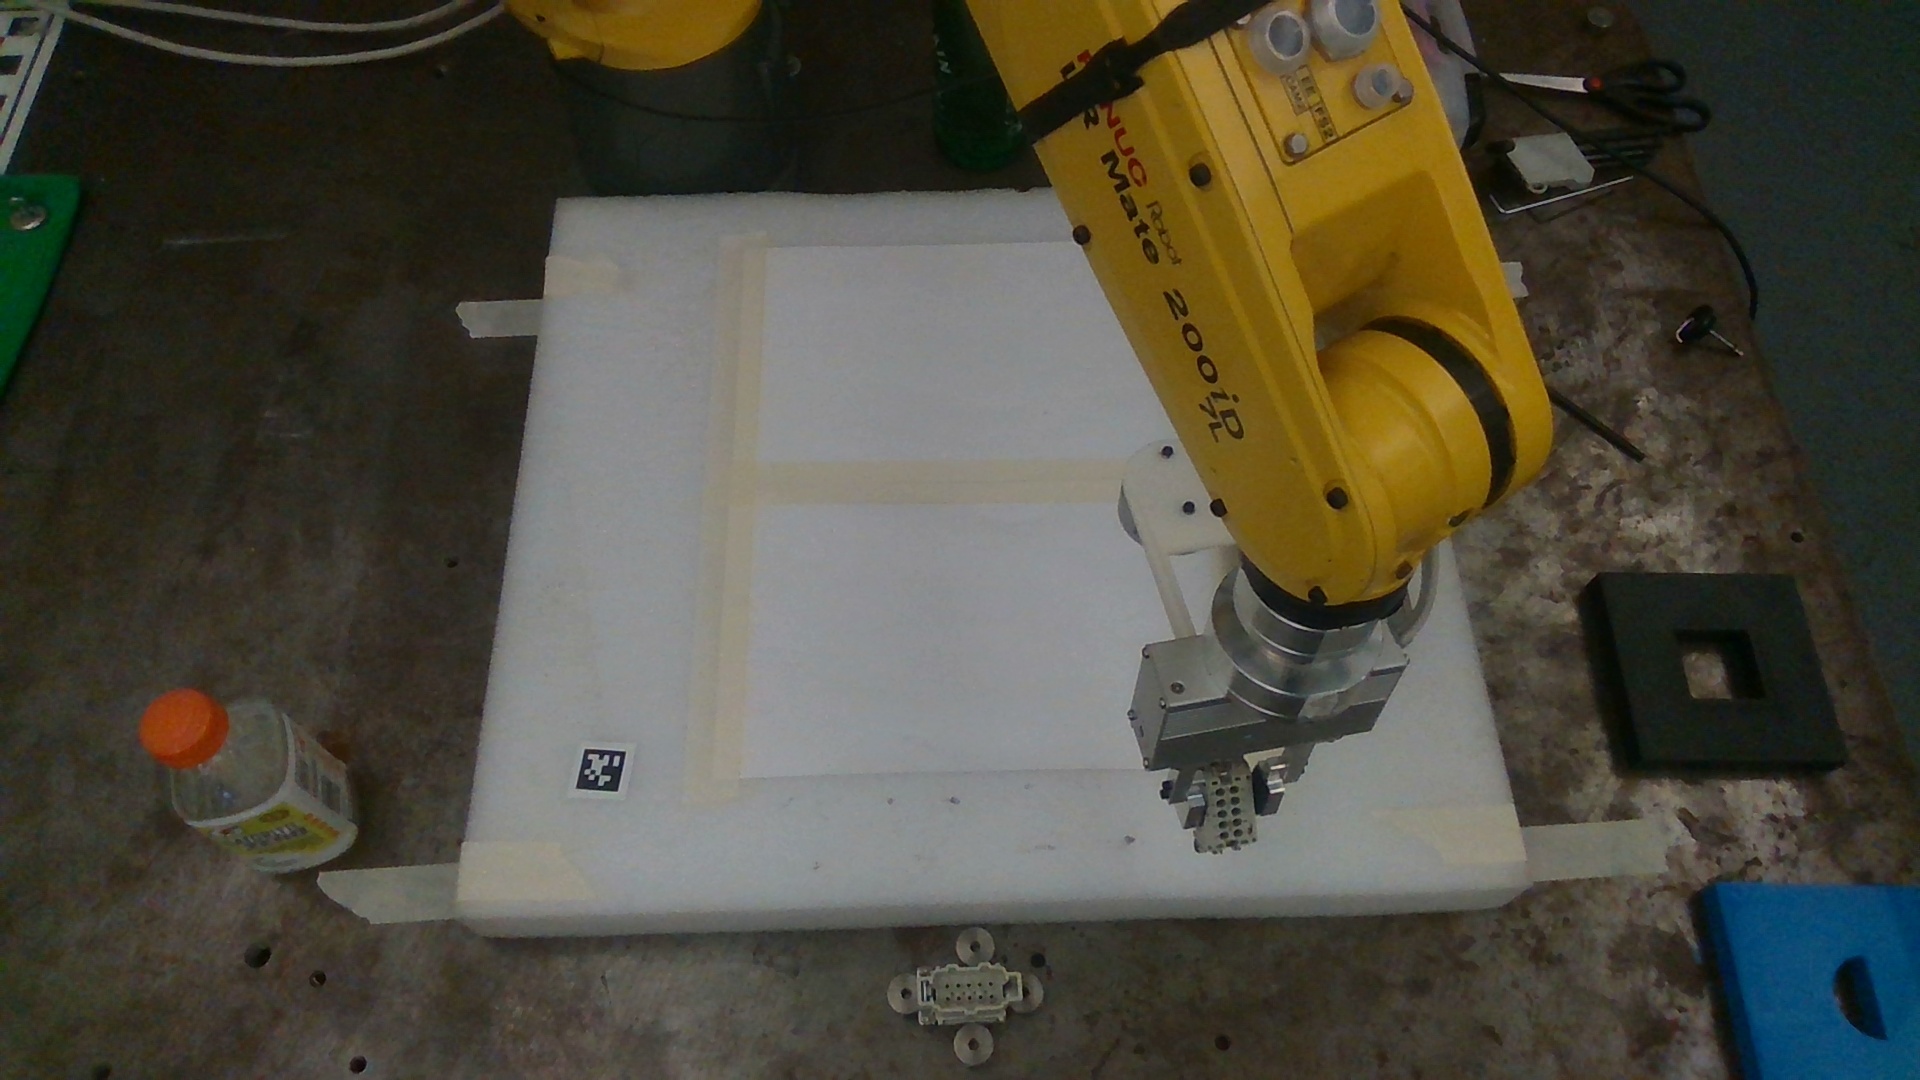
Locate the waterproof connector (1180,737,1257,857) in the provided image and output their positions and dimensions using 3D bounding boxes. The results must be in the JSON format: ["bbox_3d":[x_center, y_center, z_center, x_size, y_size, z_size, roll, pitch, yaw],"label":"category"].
[{"bbox_3d":[0.150,0.152,0.816,0.036,0.039,0.069,-10,103,-7],"label":"waterproof connector"}]
